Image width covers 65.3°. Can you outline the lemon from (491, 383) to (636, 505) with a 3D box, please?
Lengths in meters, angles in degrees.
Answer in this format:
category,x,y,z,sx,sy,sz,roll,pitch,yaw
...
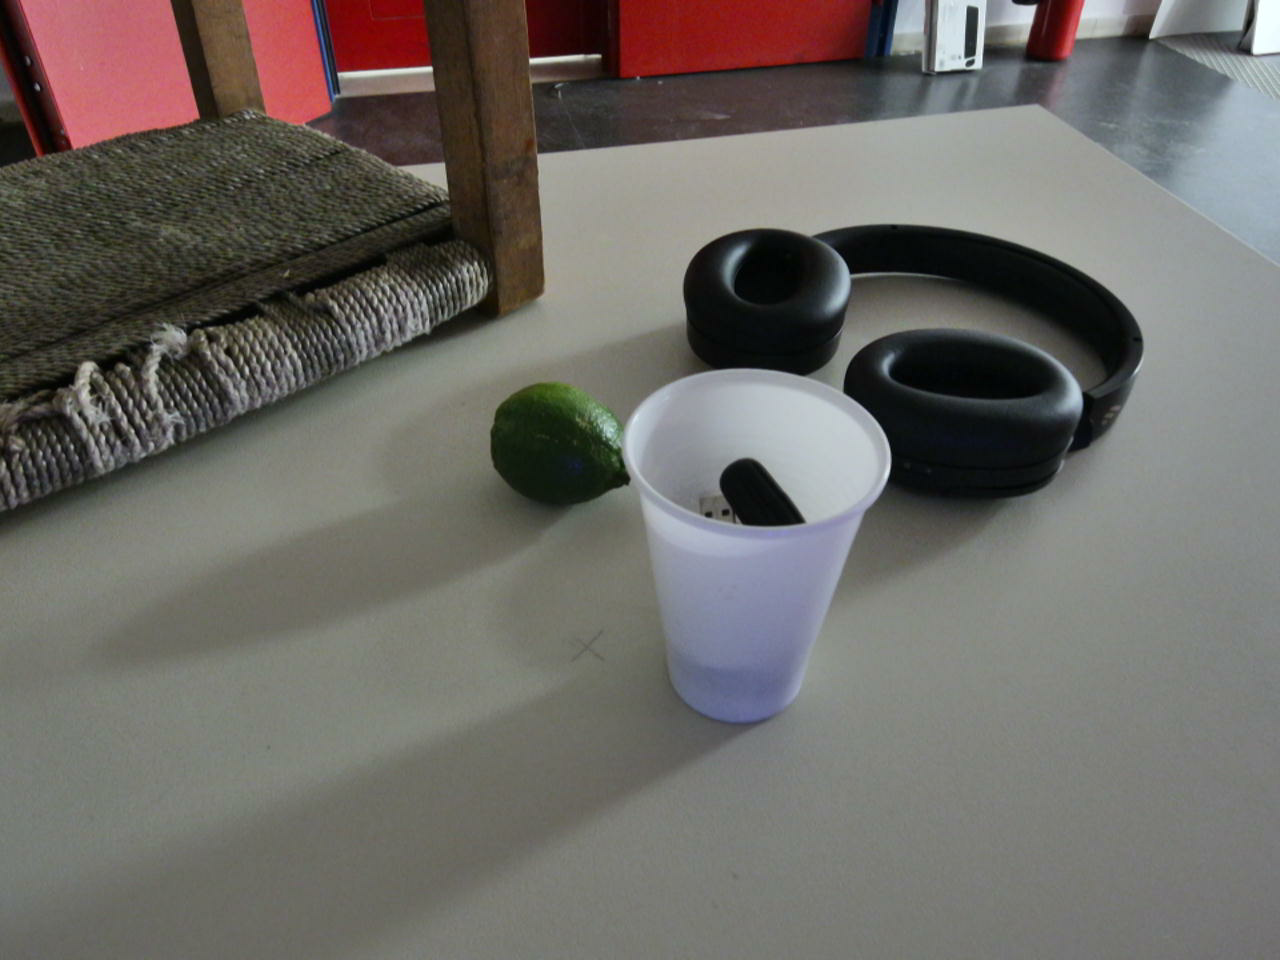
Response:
category,x,y,z,sx,sy,sz,roll,pitch,yaw
lemon,-0.034,-0.016,0.423,0.057,0.051,0.054,-11,40,-14
